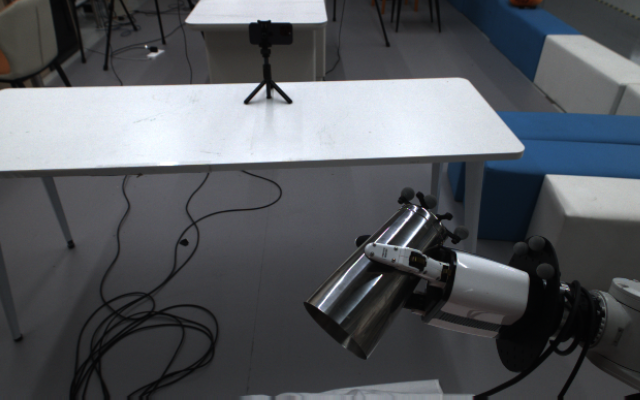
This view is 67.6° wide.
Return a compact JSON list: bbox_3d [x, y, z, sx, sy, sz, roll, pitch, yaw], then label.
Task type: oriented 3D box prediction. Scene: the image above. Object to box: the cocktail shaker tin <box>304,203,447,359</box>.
[{"bbox_3d":[0.072,0.082,0.559,0.093,0.093,0.170,32,67,35],"label":"cocktail shaker tin"}]
